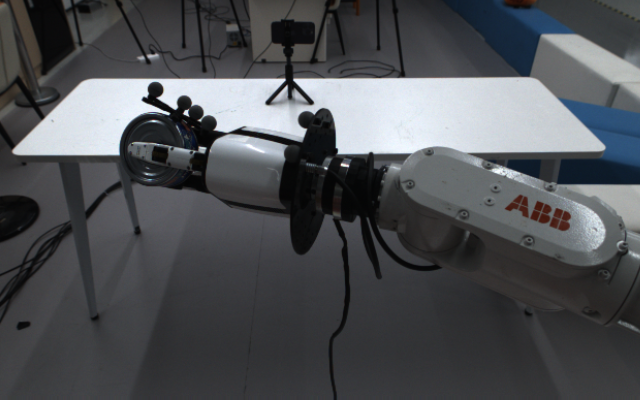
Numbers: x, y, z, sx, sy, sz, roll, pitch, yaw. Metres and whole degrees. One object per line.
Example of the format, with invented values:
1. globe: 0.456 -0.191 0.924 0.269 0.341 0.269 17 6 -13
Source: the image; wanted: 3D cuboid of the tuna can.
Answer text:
1. tuna can: -0.186 -0.057 0.562 0.085 0.085 0.034 12 4 14
